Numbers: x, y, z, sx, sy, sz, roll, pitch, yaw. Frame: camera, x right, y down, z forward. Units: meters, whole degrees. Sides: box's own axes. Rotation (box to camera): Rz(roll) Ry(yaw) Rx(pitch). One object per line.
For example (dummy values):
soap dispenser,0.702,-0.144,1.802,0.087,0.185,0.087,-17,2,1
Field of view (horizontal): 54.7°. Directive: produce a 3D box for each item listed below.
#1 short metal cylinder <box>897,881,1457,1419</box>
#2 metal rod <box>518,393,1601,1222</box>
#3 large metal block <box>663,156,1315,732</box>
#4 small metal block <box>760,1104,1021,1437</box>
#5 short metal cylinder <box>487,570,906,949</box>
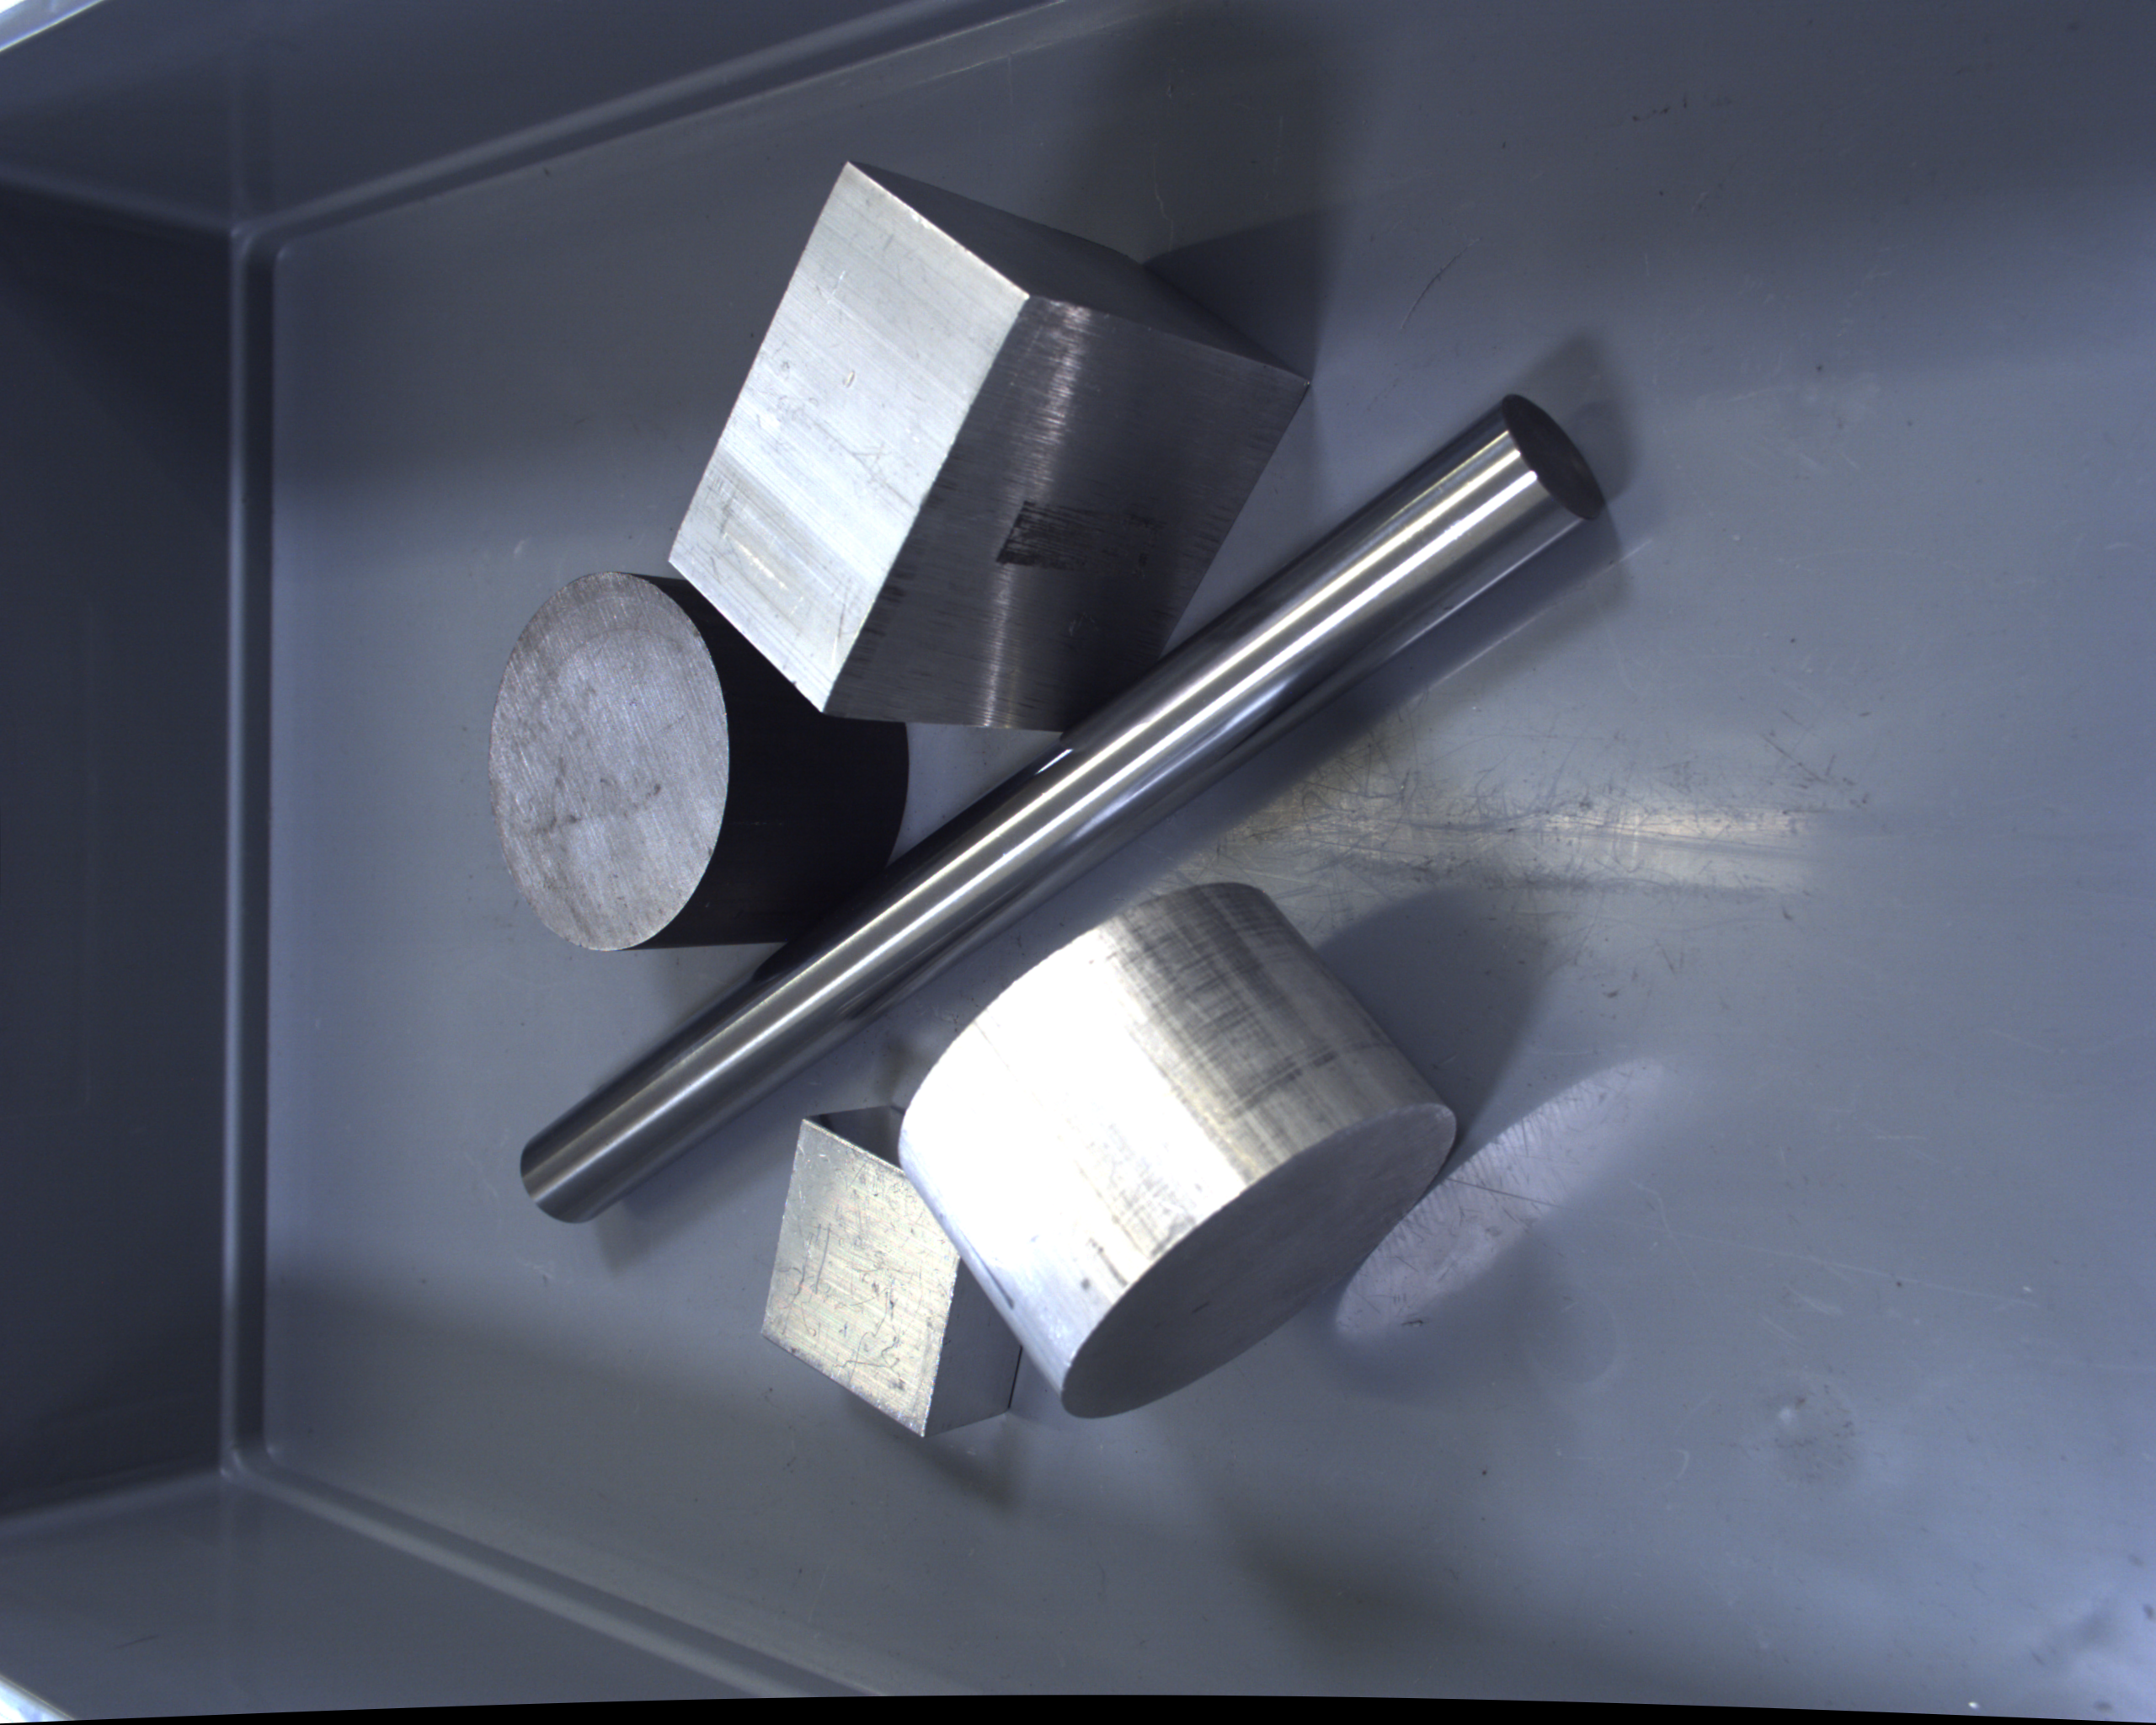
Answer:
short metal cylinder,0.017,0.049,0.355,0.050,0.081,0.080,51,120,27
metal rod,-0.024,0.005,0.424,0.299,0.025,0.025,-35,69,34
large metal block,-0.016,-0.072,0.382,0.050,0.081,0.080,44,116,31
small metal block,-0.036,0.083,0.434,0.050,0.025,0.050,20,102,38
short metal cylinder,-0.084,-0.022,0.458,0.080,0.050,0.079,0,90,40
